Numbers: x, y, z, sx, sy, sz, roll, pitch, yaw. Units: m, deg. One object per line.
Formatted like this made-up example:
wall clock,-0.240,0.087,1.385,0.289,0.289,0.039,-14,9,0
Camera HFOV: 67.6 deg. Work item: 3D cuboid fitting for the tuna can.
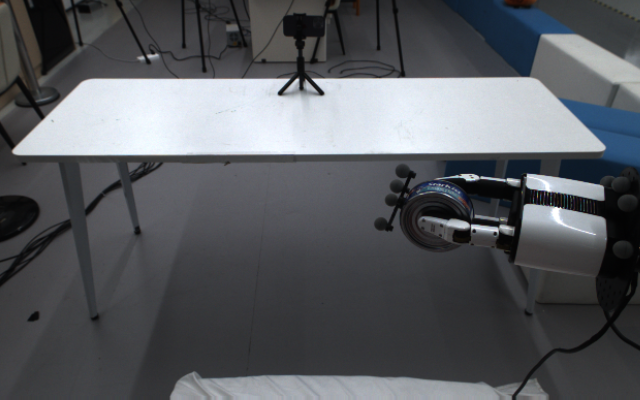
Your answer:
tuna can,0.144,0.018,0.588,0.085,0.085,0.034,12,29,14
